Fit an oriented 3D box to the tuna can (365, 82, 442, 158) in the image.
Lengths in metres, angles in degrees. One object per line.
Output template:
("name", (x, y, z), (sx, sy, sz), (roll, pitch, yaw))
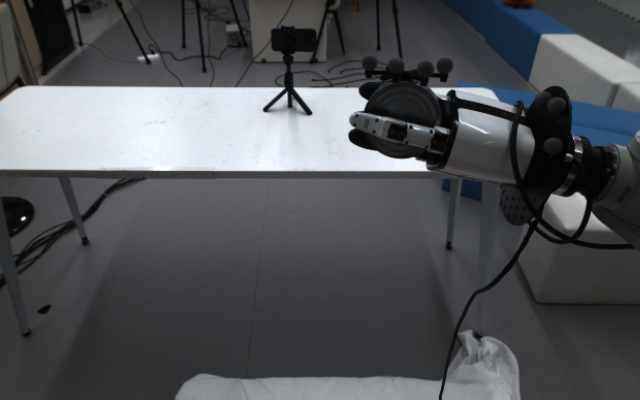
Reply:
("tuna can", (0.093, -0.093, 0.545), (0.085, 0.085, 0.034), (9, 24, 10))
